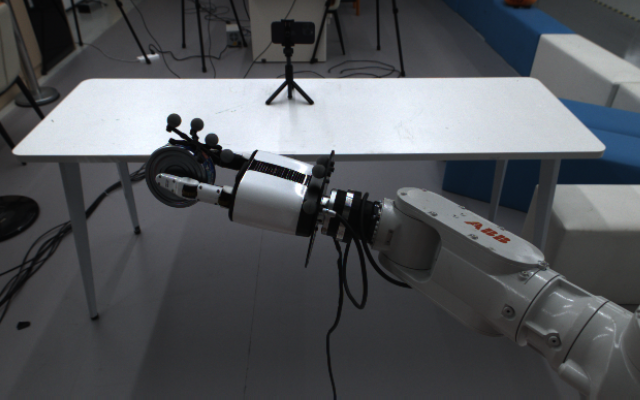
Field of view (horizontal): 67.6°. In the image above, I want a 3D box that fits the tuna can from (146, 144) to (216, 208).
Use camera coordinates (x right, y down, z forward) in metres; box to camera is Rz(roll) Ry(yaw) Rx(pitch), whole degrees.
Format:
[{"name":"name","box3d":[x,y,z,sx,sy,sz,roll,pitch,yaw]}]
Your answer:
[{"name":"tuna can","box3d":[-0.183,-0.034,0.636,0.085,0.085,0.034,6,19,6]}]
